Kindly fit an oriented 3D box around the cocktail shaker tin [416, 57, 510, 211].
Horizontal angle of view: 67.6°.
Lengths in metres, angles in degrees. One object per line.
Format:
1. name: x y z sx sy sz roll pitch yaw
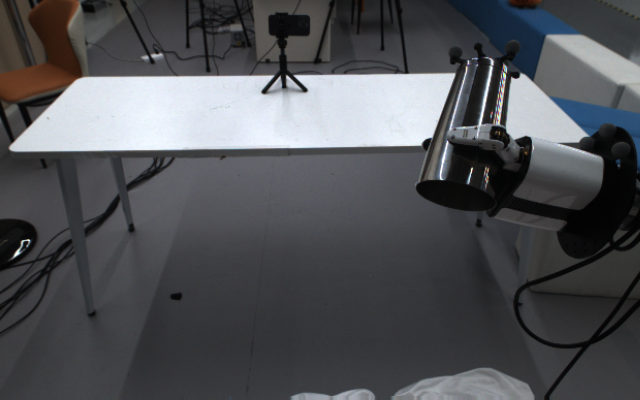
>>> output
1. cocktail shaker tin: 0.182 -0.083 0.585 0.093 0.093 0.170 13 74 15
